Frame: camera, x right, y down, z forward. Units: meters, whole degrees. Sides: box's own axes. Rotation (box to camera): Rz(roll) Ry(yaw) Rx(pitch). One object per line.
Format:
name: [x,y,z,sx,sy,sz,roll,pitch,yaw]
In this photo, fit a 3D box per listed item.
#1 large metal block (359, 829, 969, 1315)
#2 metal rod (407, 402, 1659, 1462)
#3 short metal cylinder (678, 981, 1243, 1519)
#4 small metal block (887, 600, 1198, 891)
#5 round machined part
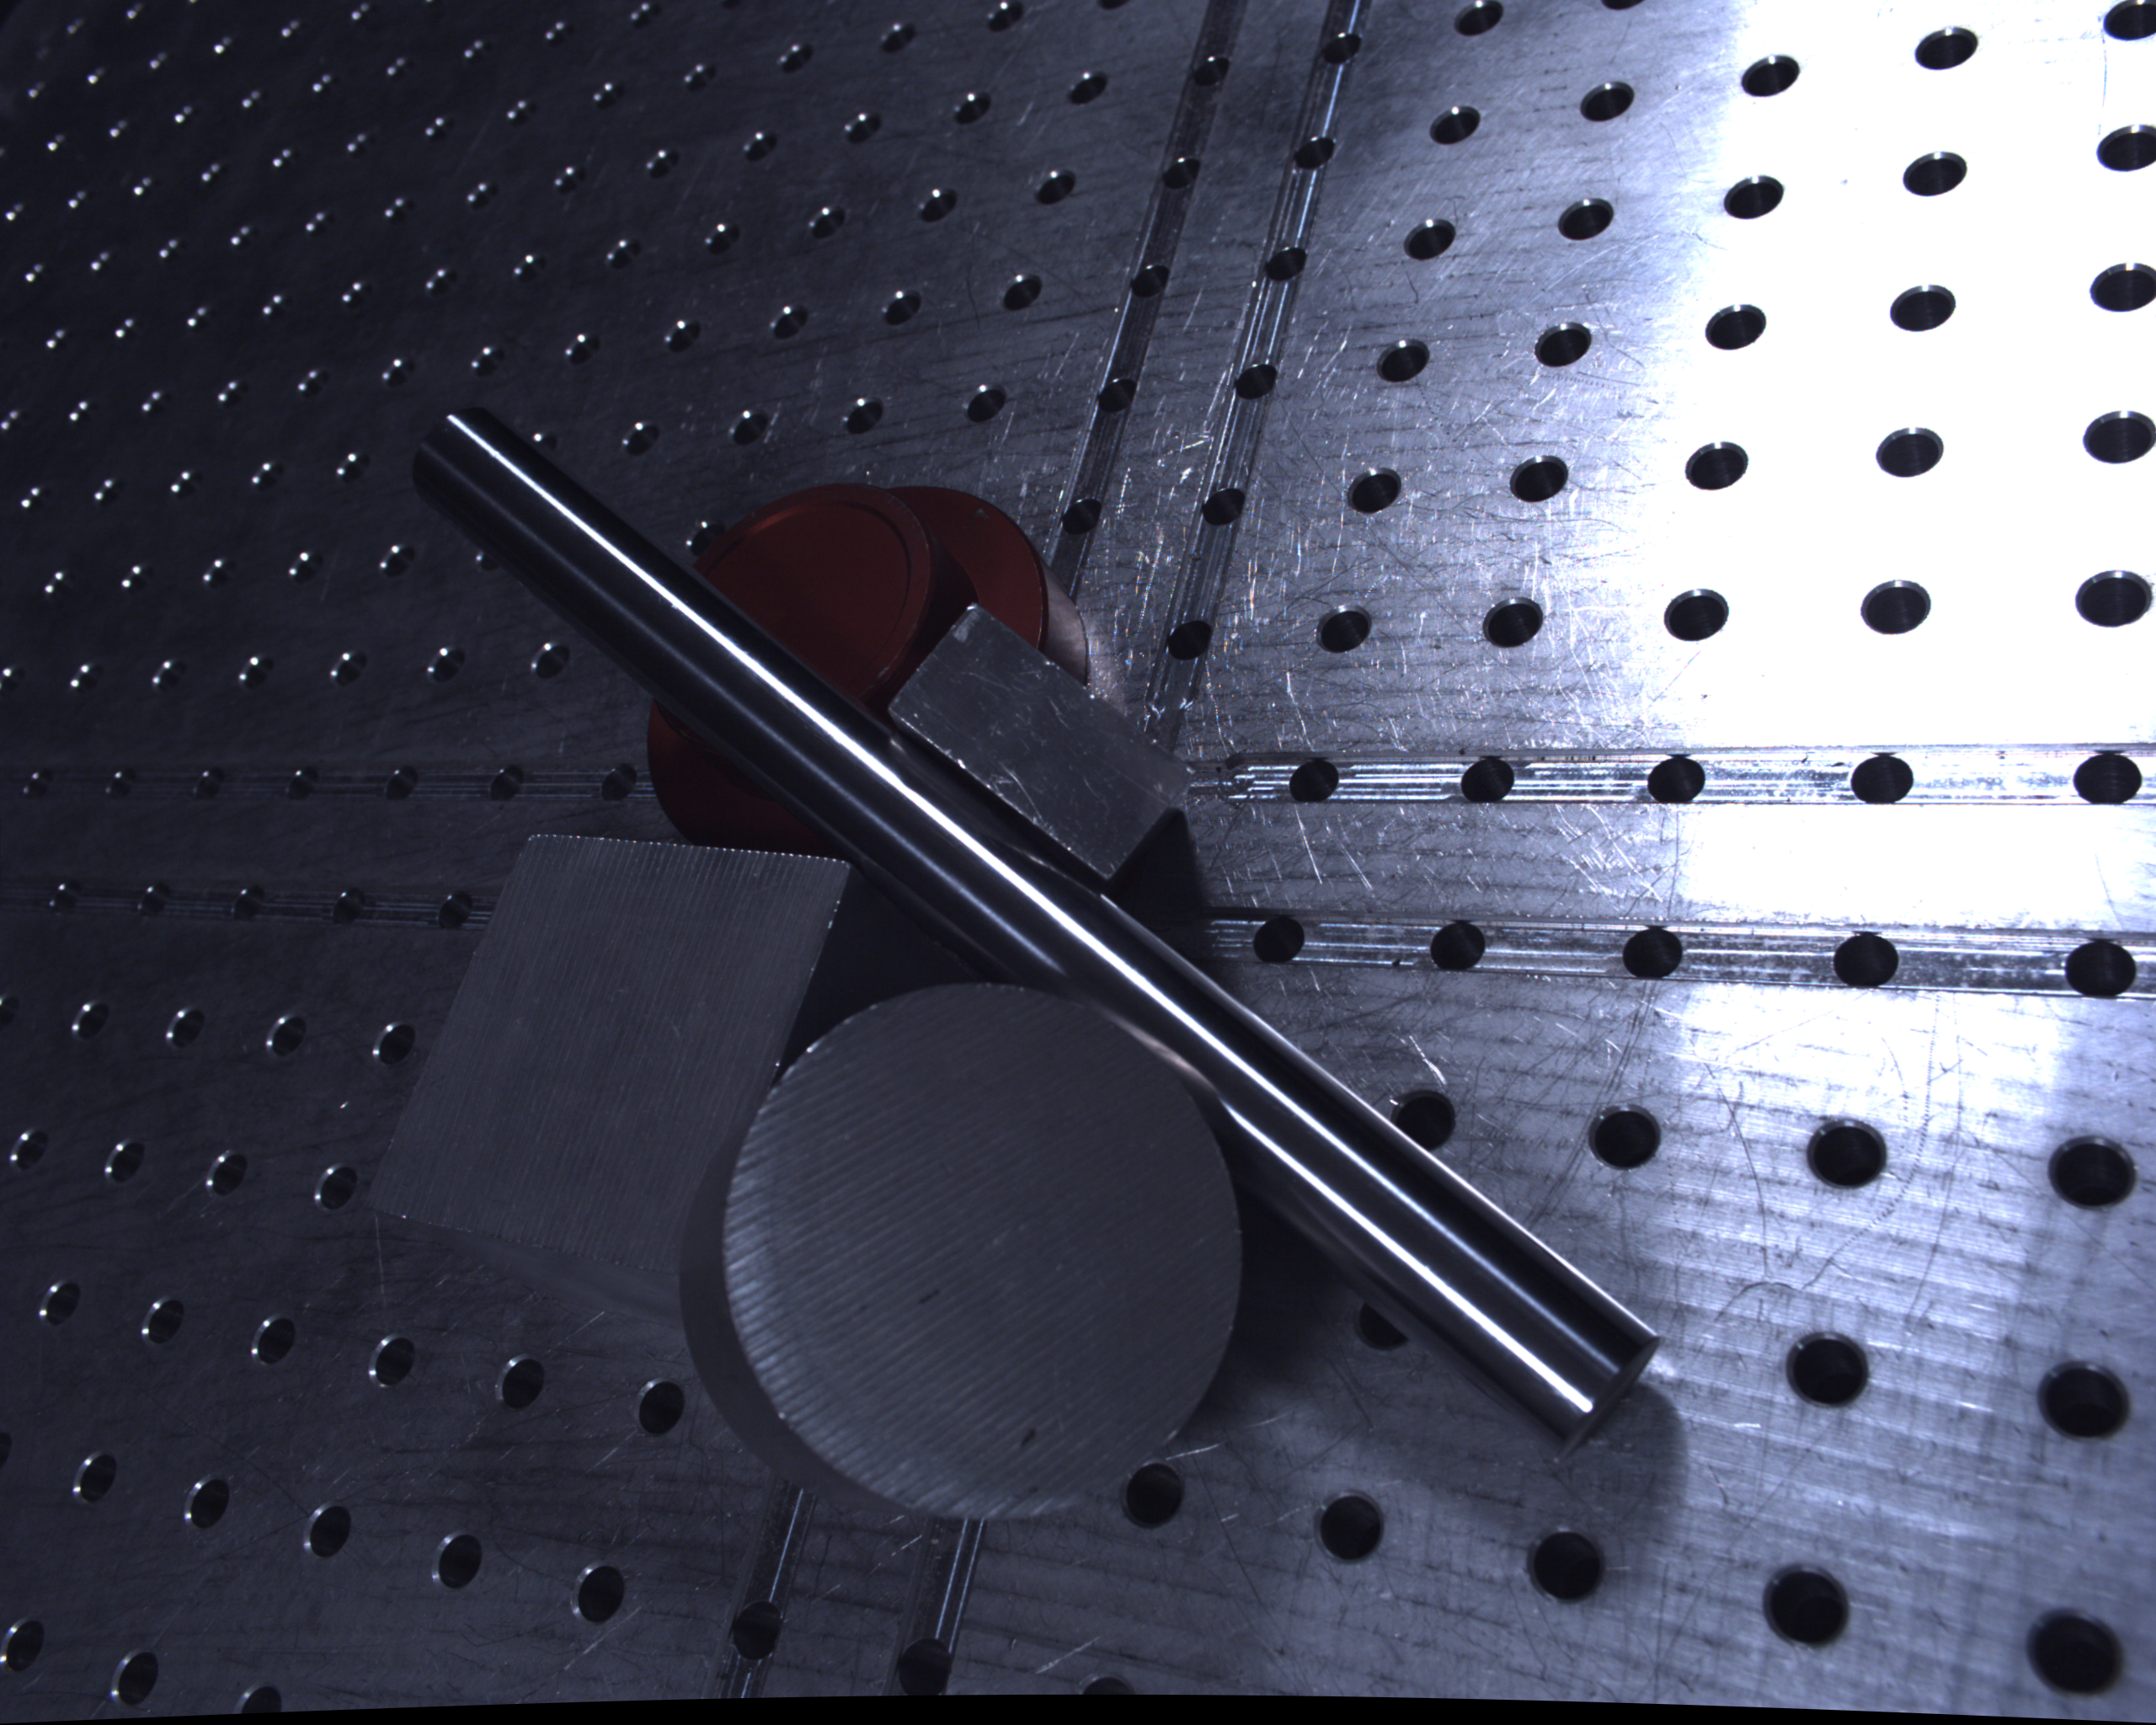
large metal block: [-0.076,0.043,0.401,0.080,0.050,0.080,5,64,30]
metal rod: [-0.026,-0.003,0.381,0.300,0.025,0.025,38,83,25]
short metal cylinder: [-0.020,0.063,0.335,0.081,0.050,0.080,6,72,-18]
small metal block: [-0.006,-0.019,0.394,0.050,0.050,0.025,38,85,4]
round machined part: [-0.051,-0.042,0.448,0.098,0.042,0.098,-13,56,20]
